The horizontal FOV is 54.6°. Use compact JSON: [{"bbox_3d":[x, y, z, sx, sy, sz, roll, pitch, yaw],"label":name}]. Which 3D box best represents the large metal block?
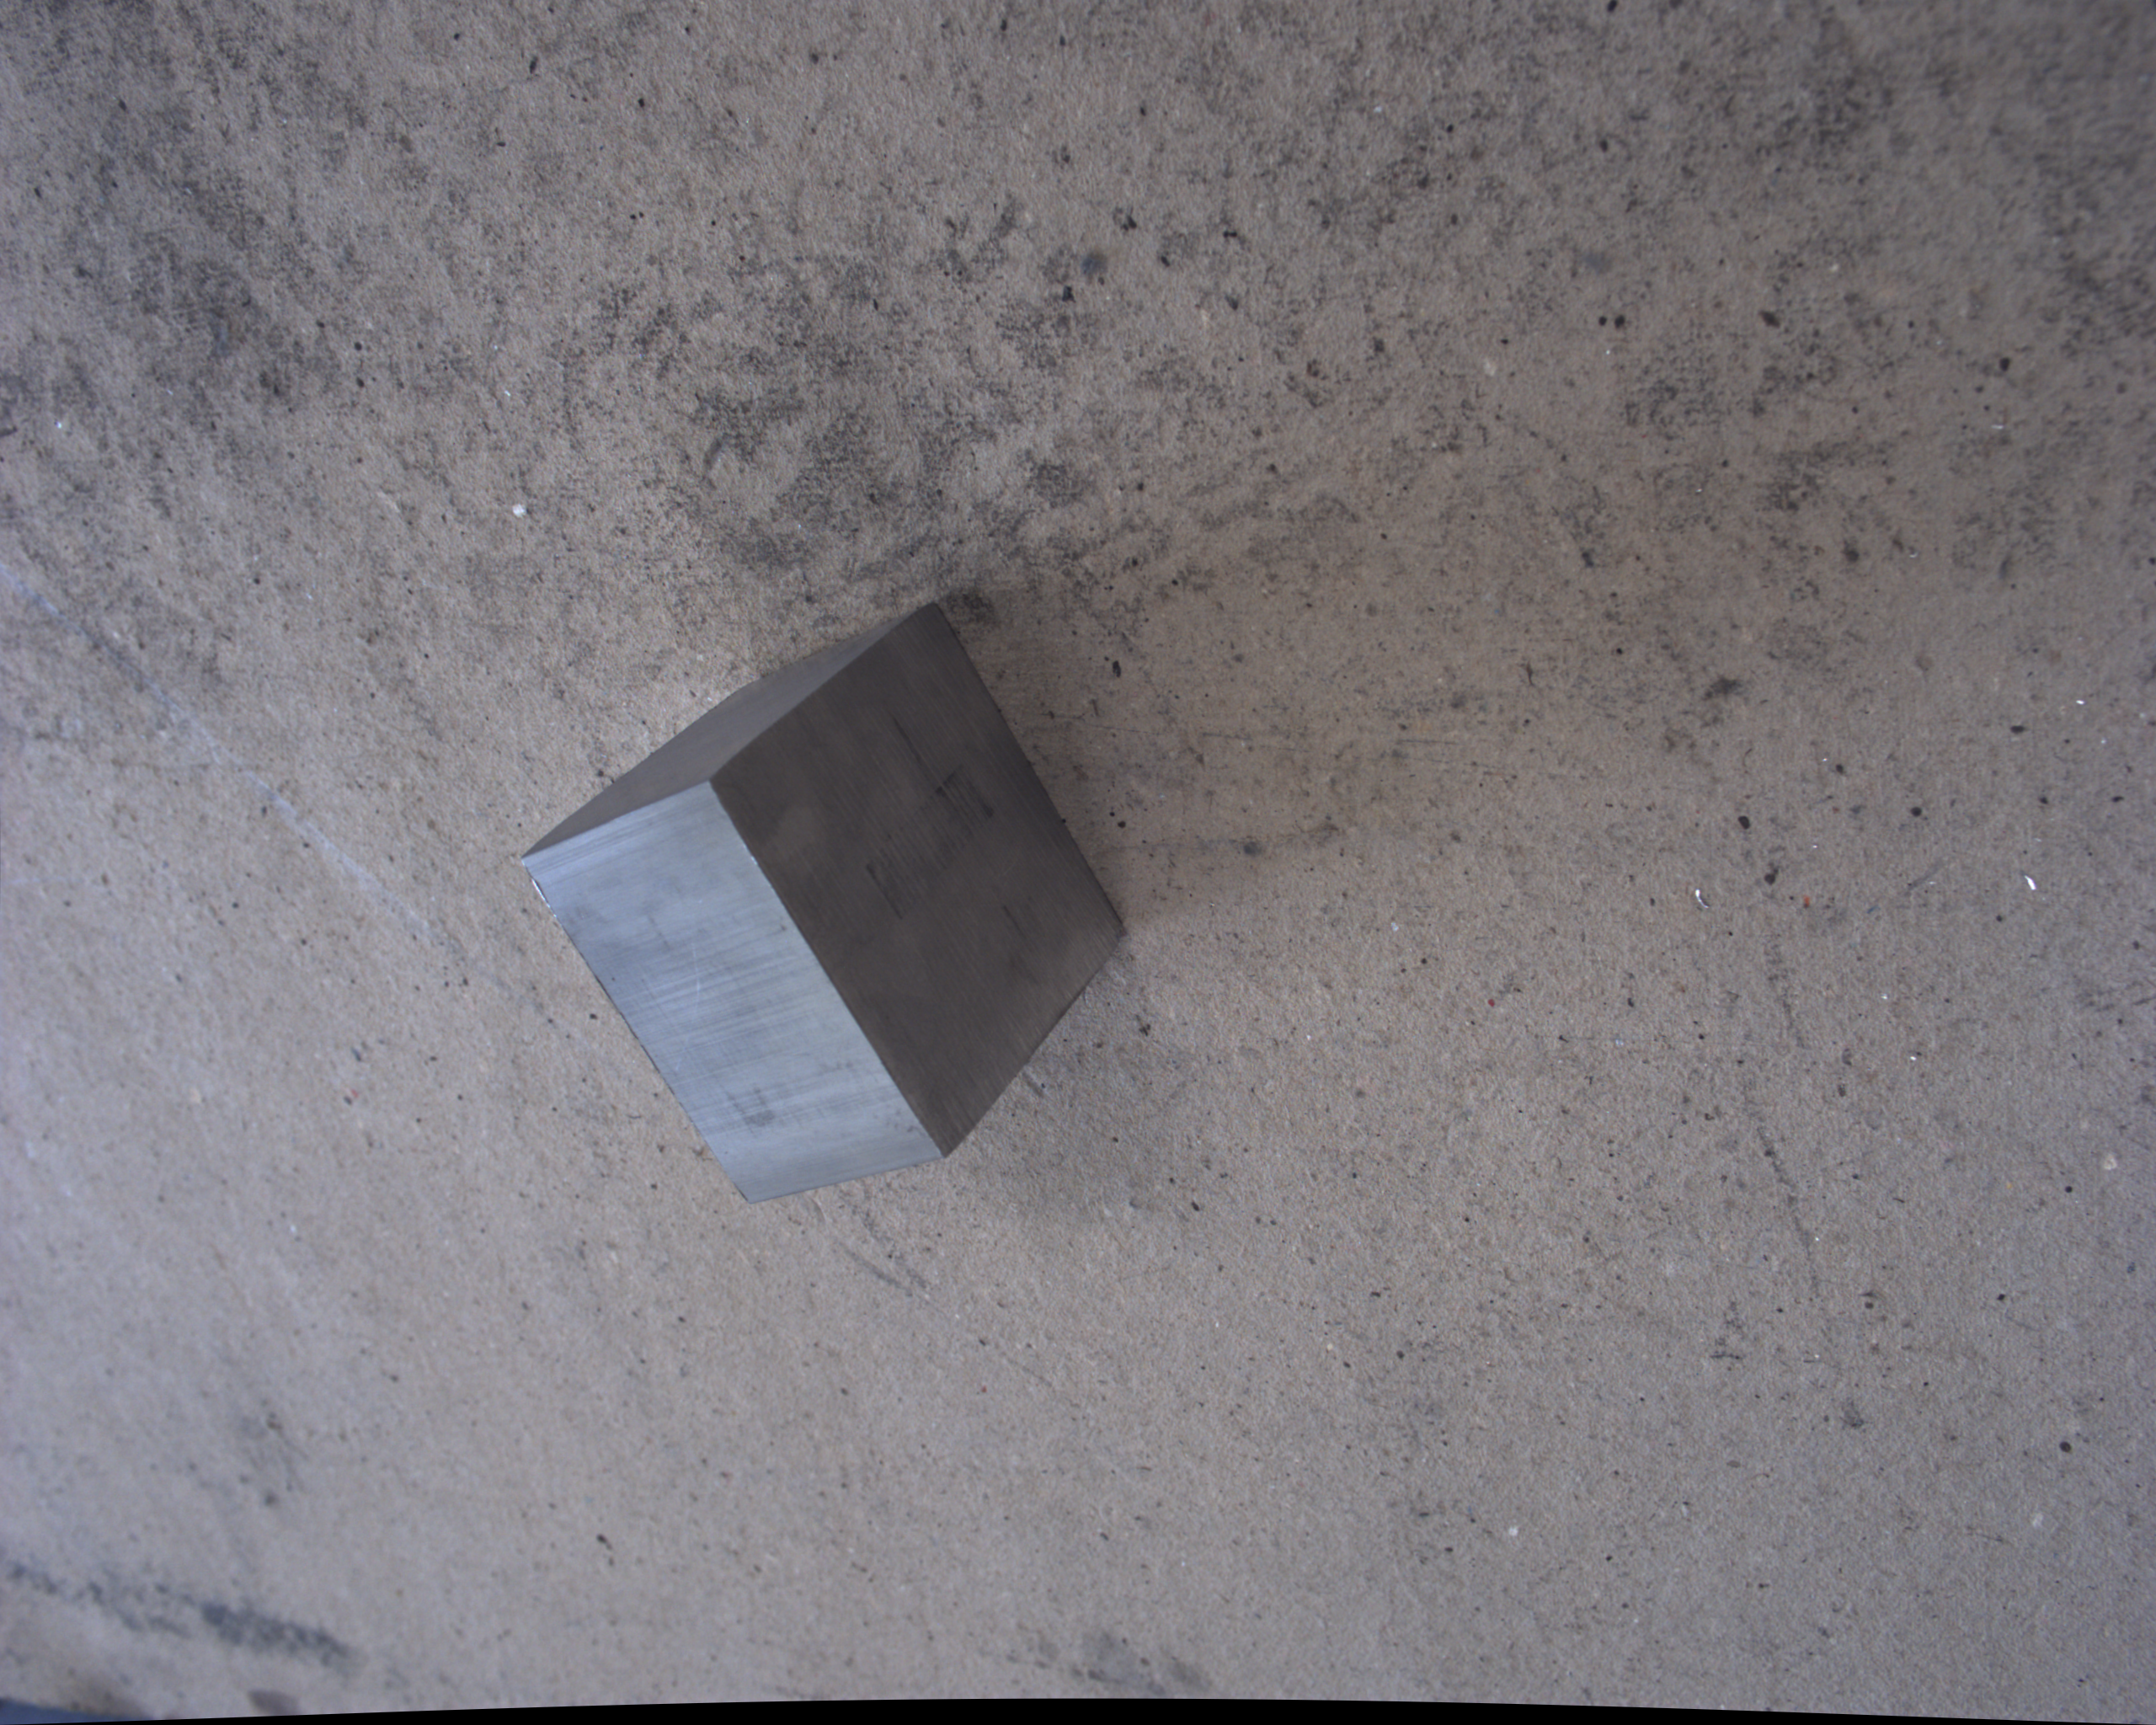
[{"bbox_3d":[-0.045,0.007,0.401,0.050,0.080,0.080,-18,109,35],"label":"large metal block"}]
